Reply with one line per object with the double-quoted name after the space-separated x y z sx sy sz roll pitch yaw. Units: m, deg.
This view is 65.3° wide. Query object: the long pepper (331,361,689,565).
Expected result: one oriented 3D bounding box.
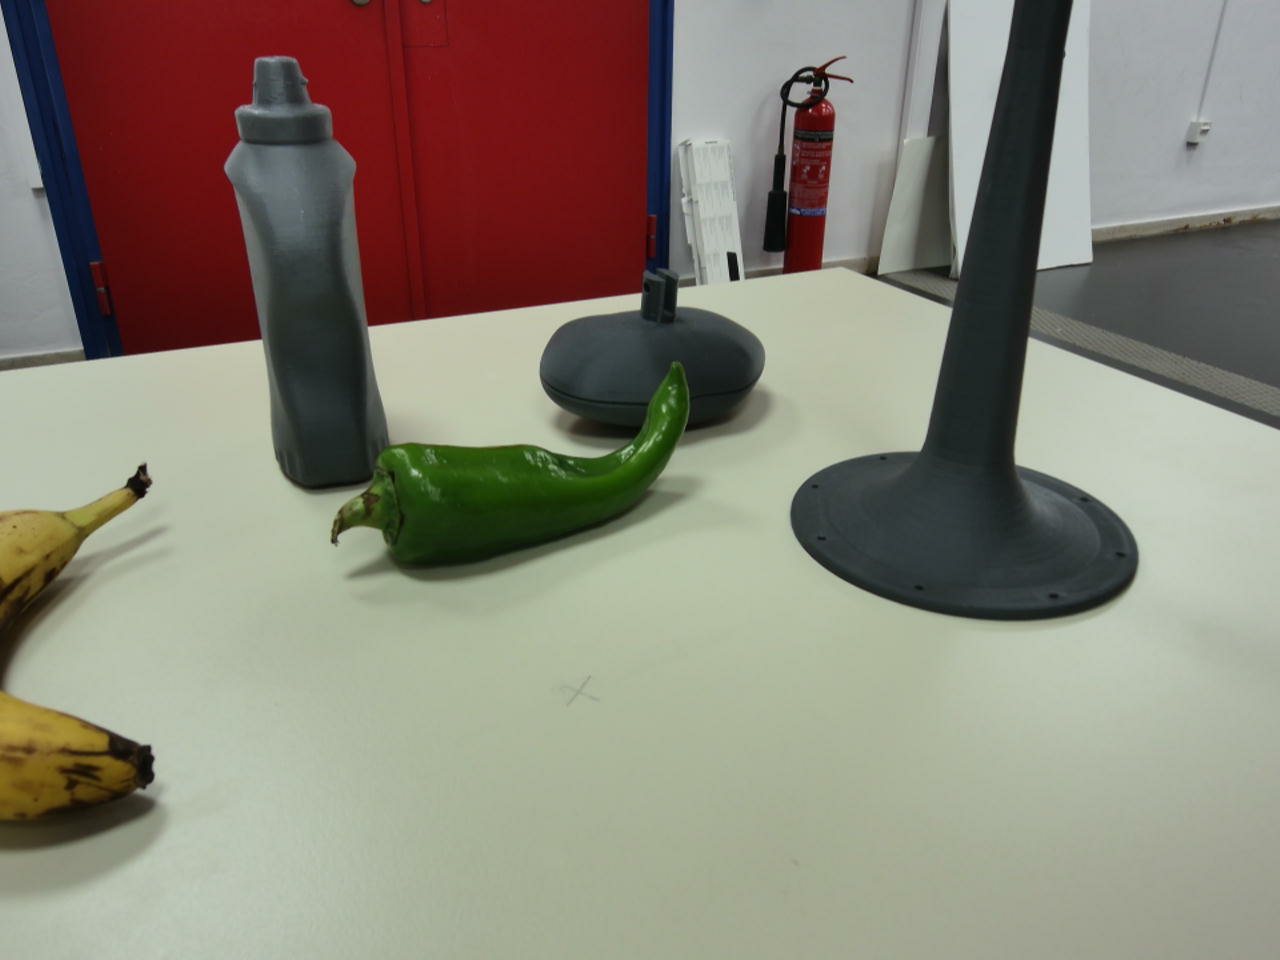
-0.049 -0.006 0.440 0.175 0.065 0.058 -12 27 -26 "long pepper"
